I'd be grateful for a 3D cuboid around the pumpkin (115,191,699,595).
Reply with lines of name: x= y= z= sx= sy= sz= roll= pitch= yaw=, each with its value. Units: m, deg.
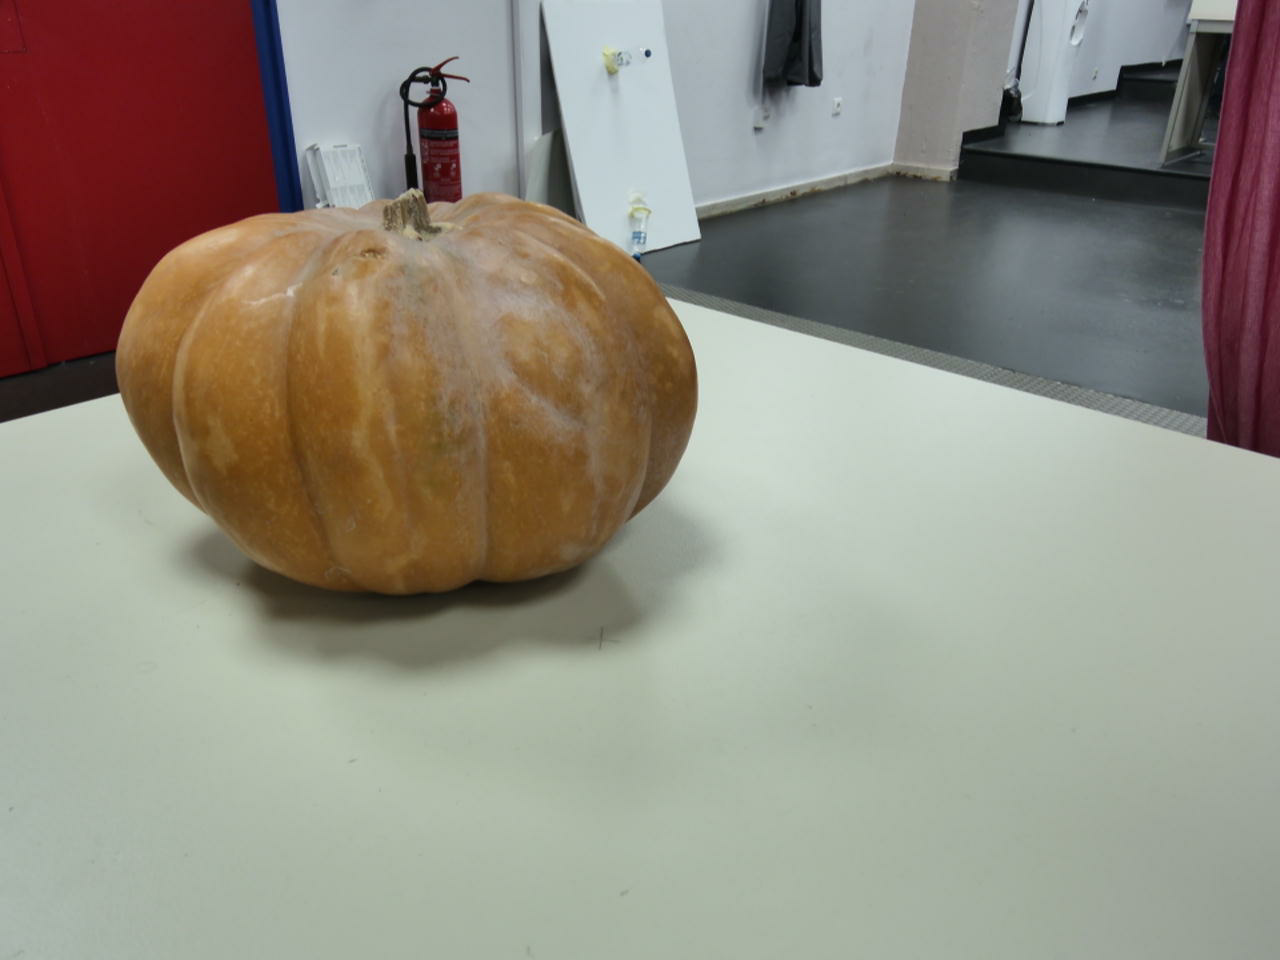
pumpkin: x=-0.108 y=-0.050 z=0.501 sx=0.277 sy=0.181 sz=0.277 roll=0 pitch=25 yaw=0
